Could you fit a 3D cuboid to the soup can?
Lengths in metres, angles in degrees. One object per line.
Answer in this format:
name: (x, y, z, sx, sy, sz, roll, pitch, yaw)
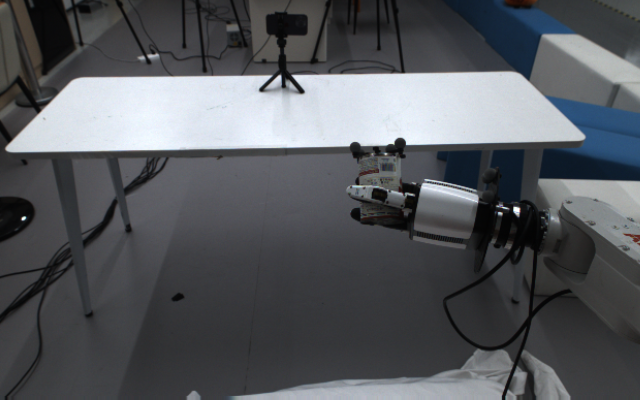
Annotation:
soup can: (0.094, -0.016, 0.743, 0.067, 0.101, 0.067, -1, -9, 0)
